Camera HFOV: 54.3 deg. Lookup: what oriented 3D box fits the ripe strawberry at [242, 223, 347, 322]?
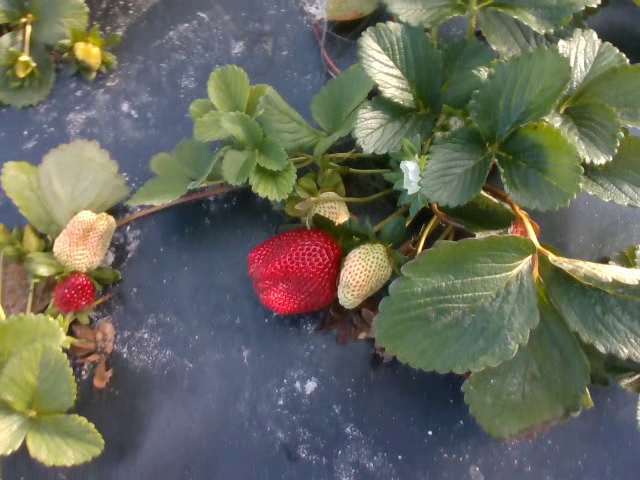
[{"bbox_3d":[-0.018,0.022,0.385,0.070,0.058,0.057,-6,16,-36],"label":"ripe strawberry"}]
